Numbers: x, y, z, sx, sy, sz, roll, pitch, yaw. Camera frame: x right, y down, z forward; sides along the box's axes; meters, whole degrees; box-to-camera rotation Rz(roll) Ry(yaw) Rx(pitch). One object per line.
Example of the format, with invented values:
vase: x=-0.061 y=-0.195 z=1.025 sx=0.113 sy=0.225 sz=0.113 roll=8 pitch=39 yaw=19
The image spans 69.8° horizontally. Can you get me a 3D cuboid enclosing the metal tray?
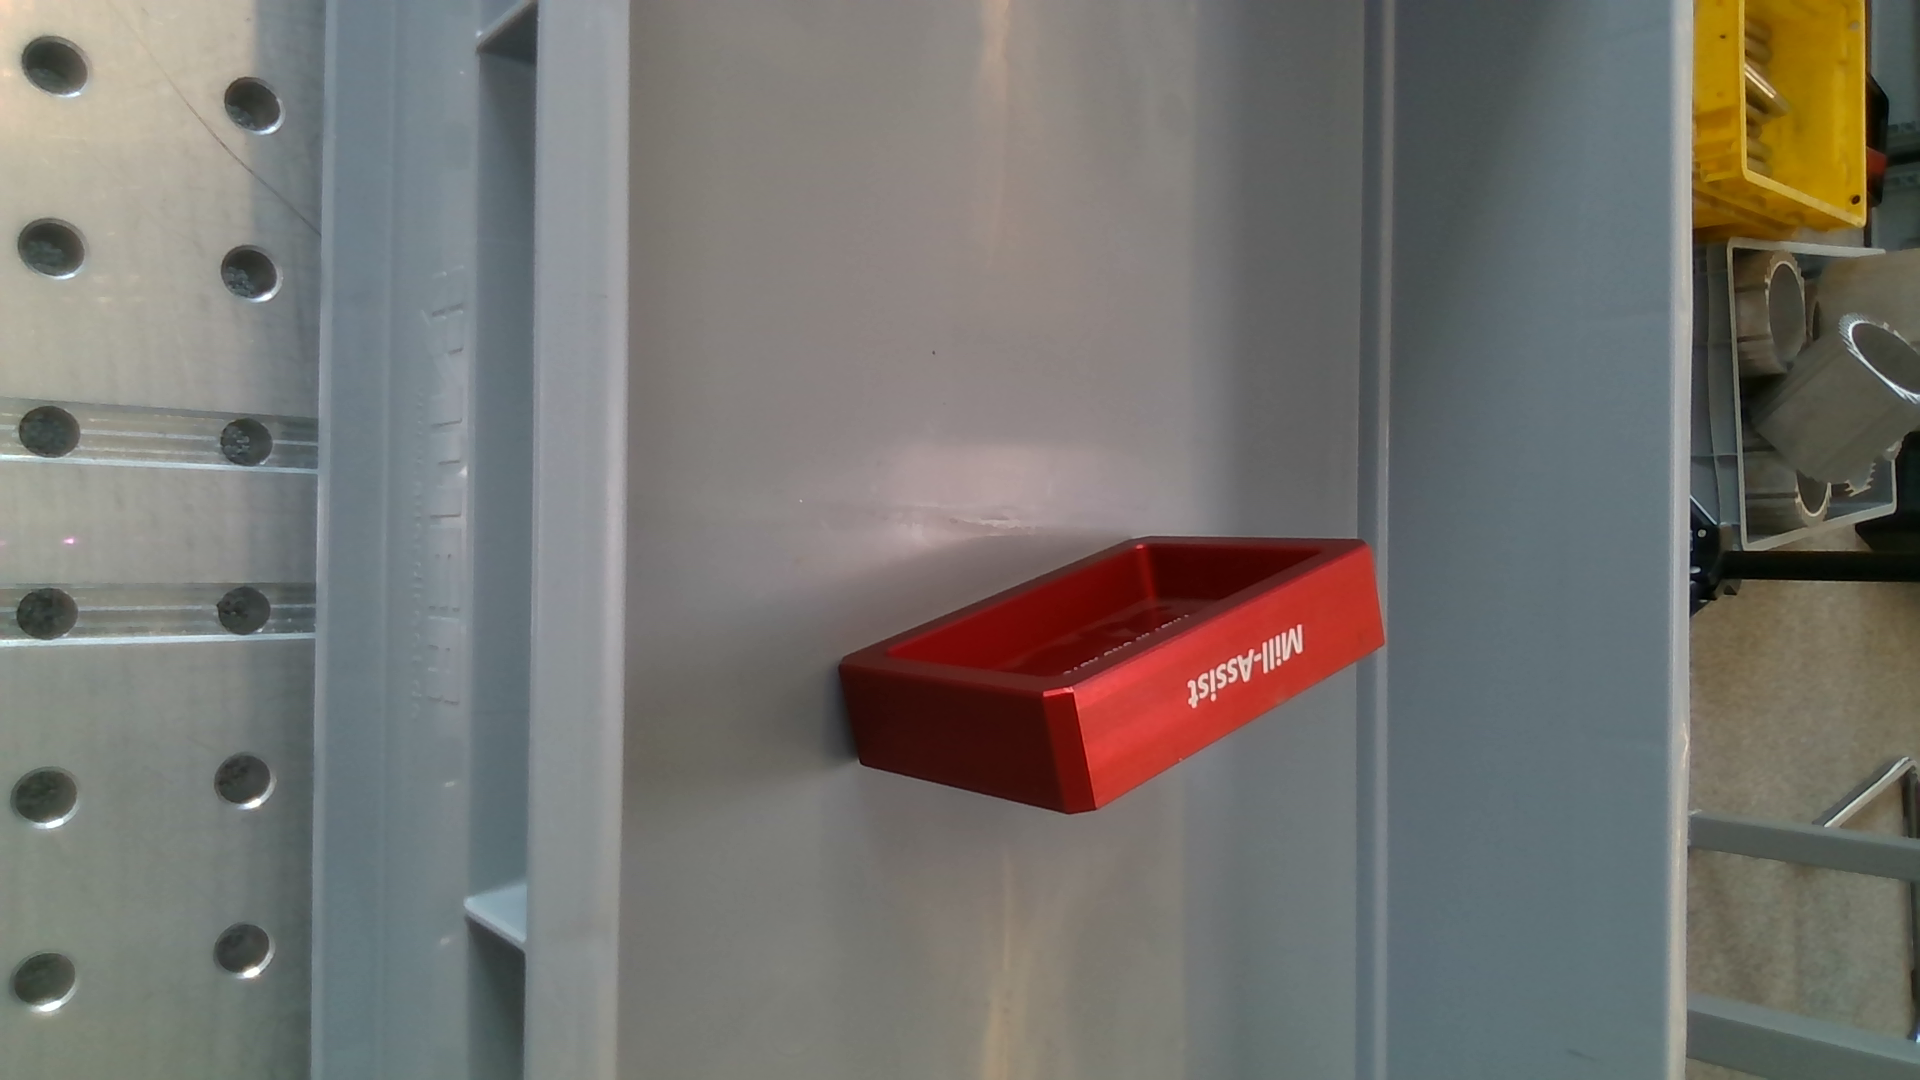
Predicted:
metal tray: x=0.043 y=0.031 z=0.382 sx=0.130 sy=0.090 sz=0.030 roll=-20 pitch=104 yaw=-38
